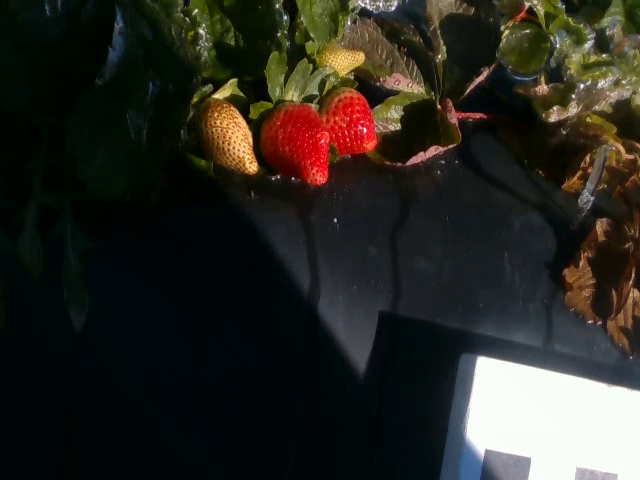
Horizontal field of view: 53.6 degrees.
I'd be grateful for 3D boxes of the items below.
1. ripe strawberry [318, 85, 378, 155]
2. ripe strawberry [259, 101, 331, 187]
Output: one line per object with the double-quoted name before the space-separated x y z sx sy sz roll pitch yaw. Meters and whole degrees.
"ripe strawberry" 0.017 -0.061 0.329 0.041 0.036 0.030 39 -12 0
"ripe strawberry" -0.007 -0.041 0.303 0.036 0.052 0.040 -26 -38 -14
